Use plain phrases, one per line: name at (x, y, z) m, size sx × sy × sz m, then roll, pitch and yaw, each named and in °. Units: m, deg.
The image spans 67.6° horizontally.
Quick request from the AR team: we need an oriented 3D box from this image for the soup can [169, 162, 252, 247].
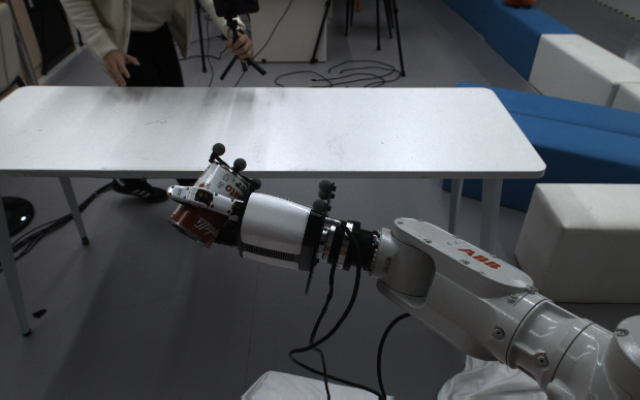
soup can at (-0.151, 0.007, 0.663) m, size 0.067 × 0.067 × 0.101 m, roll 24°, pitch 71°, yaw 28°
